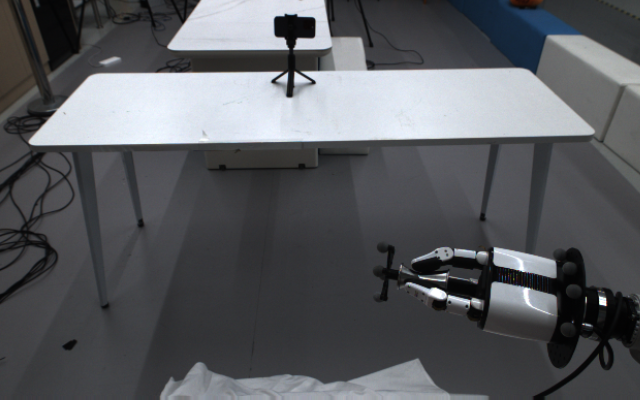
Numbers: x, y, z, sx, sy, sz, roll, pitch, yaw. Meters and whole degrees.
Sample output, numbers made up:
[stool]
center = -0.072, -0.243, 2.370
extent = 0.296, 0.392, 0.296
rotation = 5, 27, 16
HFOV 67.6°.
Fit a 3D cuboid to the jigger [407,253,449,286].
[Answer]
[jigger]
center = 0.154, 0.111, 0.690
extent = 0.071, 0.043, 0.043
rotation = 8, 35, 16
